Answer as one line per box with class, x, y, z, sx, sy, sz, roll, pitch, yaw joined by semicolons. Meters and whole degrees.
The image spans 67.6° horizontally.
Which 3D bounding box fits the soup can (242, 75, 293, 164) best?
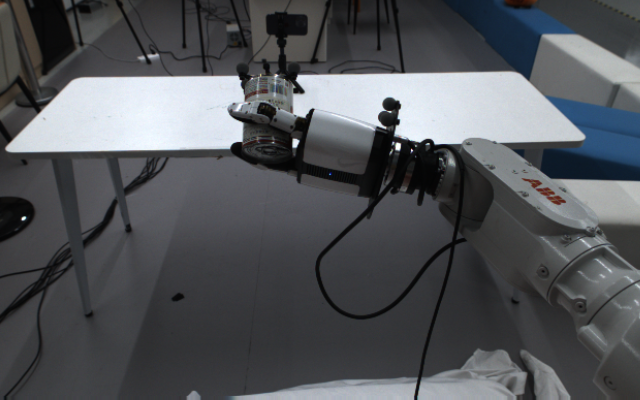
soup can;-0.069;-0.107;0.643;0.067;0.067;0.101;1;72;-2
